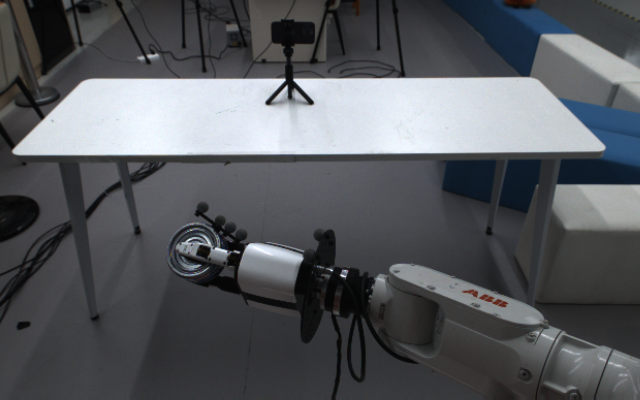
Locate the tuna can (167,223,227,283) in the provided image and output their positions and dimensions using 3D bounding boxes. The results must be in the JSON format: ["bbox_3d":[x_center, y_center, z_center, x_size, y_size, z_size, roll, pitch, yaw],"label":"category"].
[{"bbox_3d":[-0.180,0.078,0.713,0.085,0.034,0.085,-4,69,9],"label":"tuna can"}]
